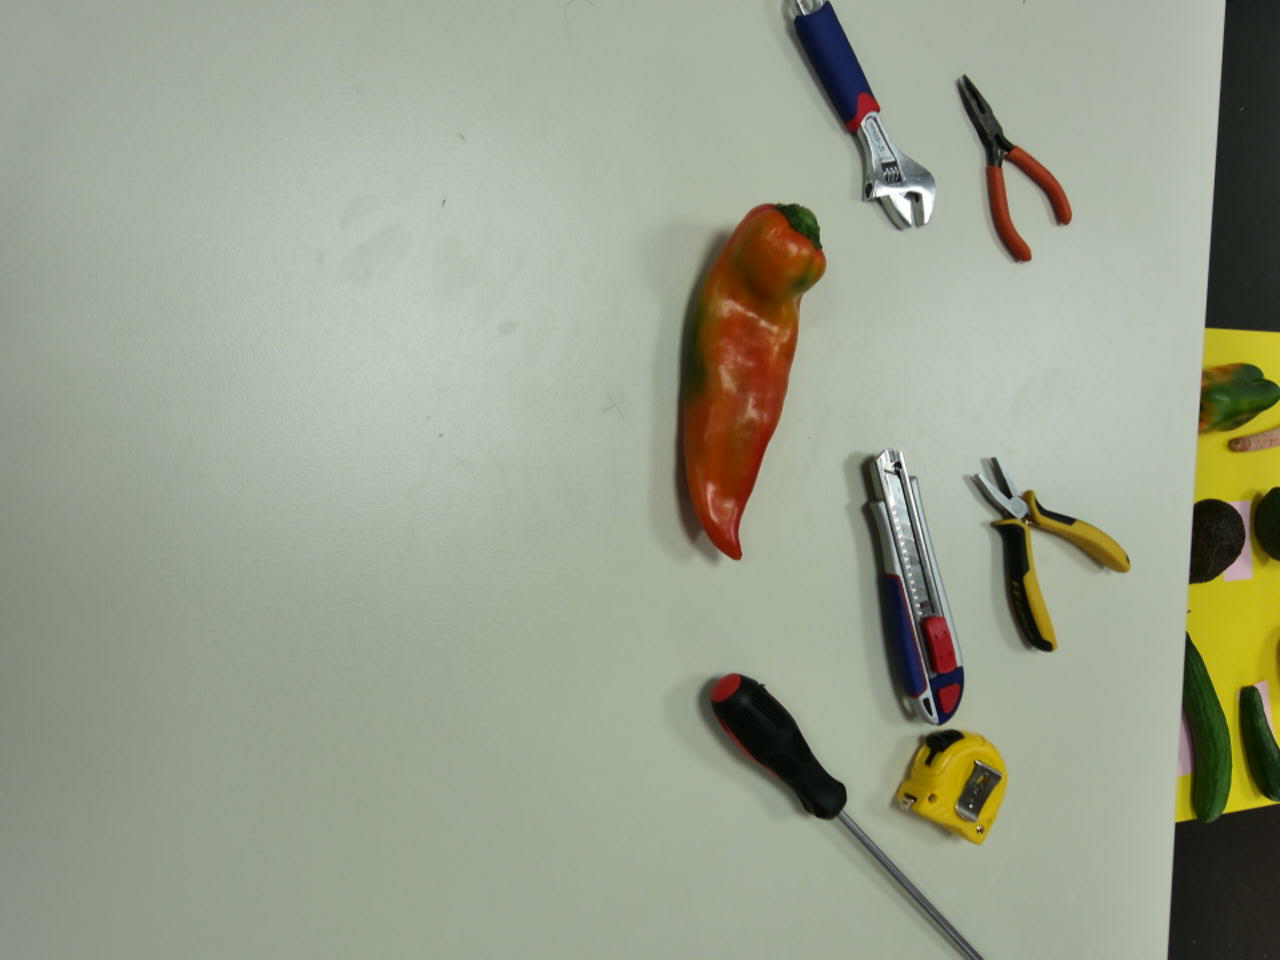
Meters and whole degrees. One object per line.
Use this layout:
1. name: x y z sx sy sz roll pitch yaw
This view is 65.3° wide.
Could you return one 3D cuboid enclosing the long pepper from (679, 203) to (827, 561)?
1. long pepper: 0.062 -0.056 0.557 0.066 0.065 0.199 10 87 -22
